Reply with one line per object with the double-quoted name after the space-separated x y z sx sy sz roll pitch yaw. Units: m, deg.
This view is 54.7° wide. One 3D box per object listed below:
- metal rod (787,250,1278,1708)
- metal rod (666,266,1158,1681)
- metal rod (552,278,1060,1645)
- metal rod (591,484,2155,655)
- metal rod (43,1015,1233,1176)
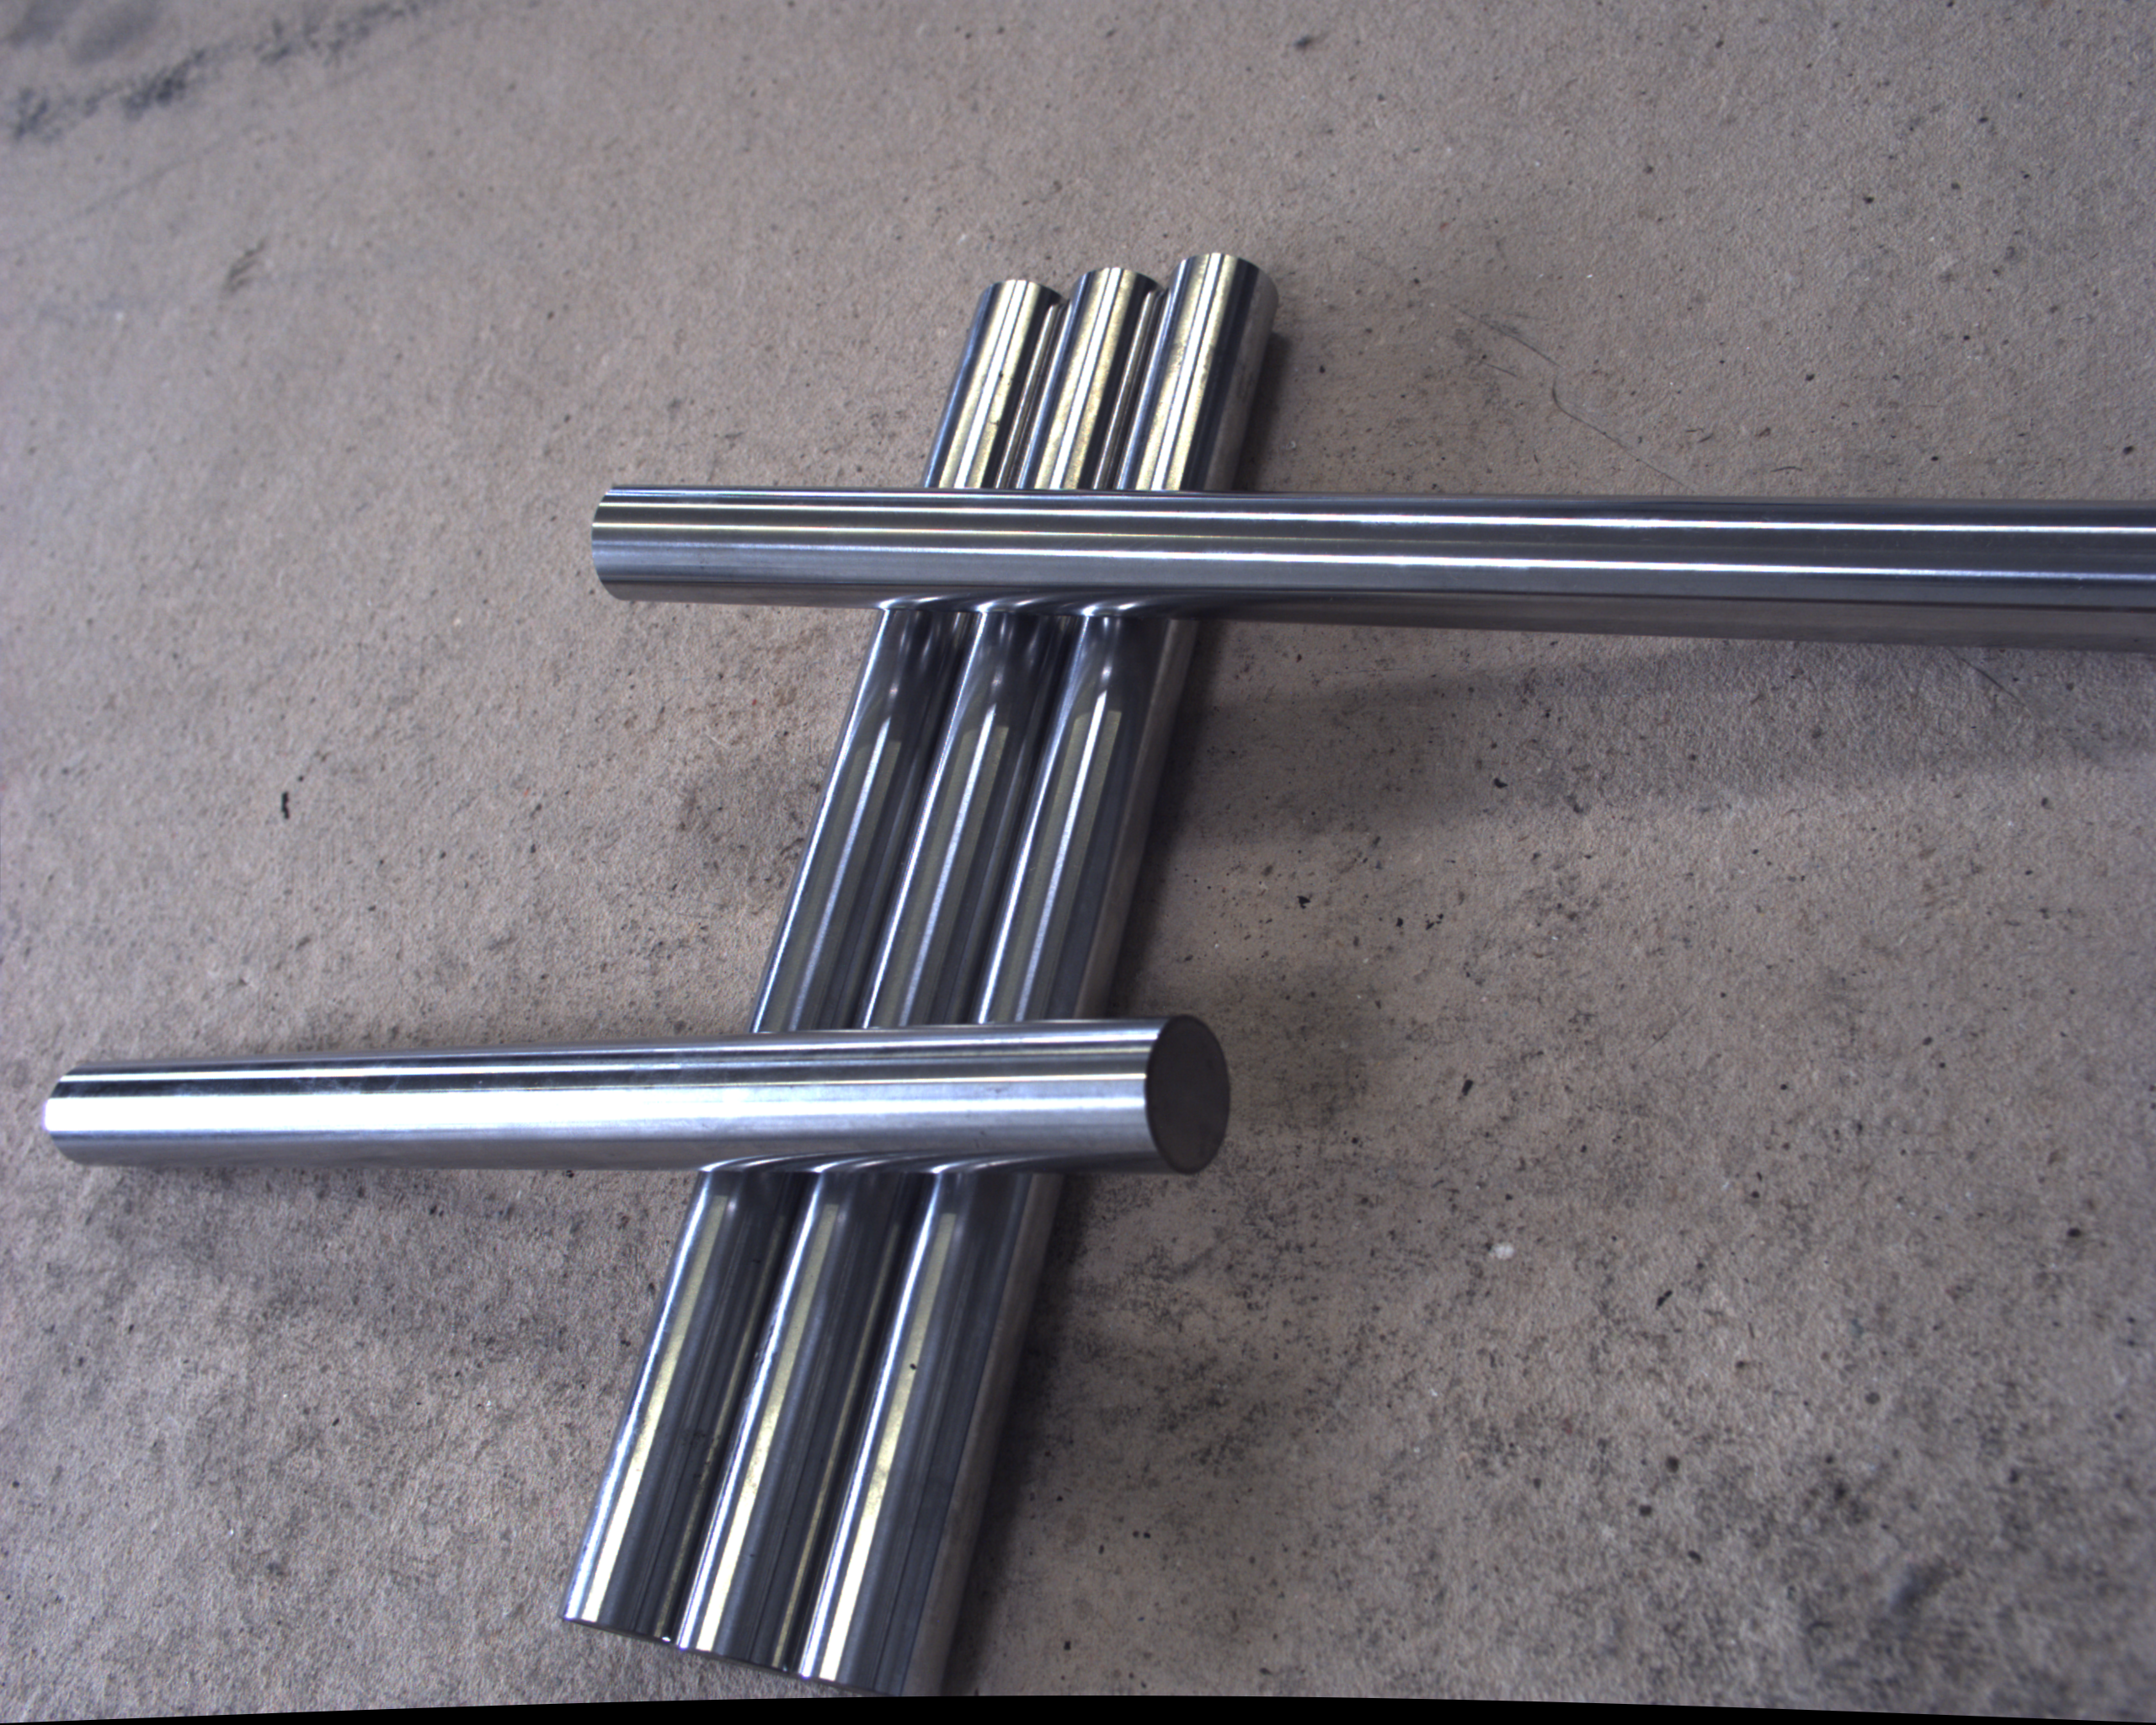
-0.001 0.003 0.403 0.025 0.025 0.300 0 62 28 "metal rod"
-0.024 0.004 0.415 0.025 0.025 0.300 0 61 28 "metal rod"
-0.046 0.003 0.427 0.025 0.025 0.300 0 62 28 "metal rod"
0.042 -0.057 0.394 0.301 0.025 0.025 5 64 21 "metal rod"
-0.107 0.047 0.408 0.300 0.025 0.025 -5 59 34 "metal rod"
